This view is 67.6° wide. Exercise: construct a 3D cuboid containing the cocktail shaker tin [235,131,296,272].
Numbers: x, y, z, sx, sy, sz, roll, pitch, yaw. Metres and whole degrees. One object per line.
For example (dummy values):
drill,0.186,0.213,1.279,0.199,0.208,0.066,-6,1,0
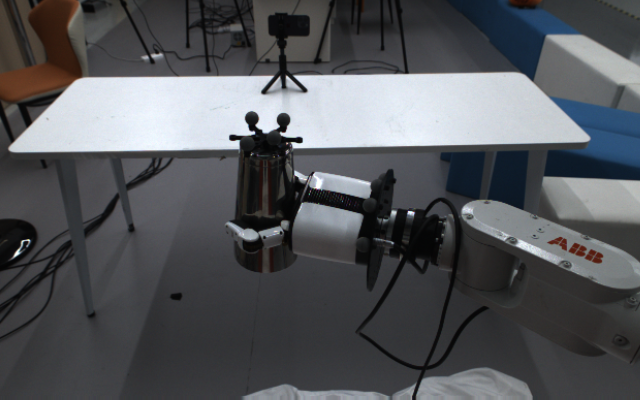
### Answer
cocktail shaker tin,-0.069,0.002,0.642,0.093,0.170,0.093,3,34,-2
